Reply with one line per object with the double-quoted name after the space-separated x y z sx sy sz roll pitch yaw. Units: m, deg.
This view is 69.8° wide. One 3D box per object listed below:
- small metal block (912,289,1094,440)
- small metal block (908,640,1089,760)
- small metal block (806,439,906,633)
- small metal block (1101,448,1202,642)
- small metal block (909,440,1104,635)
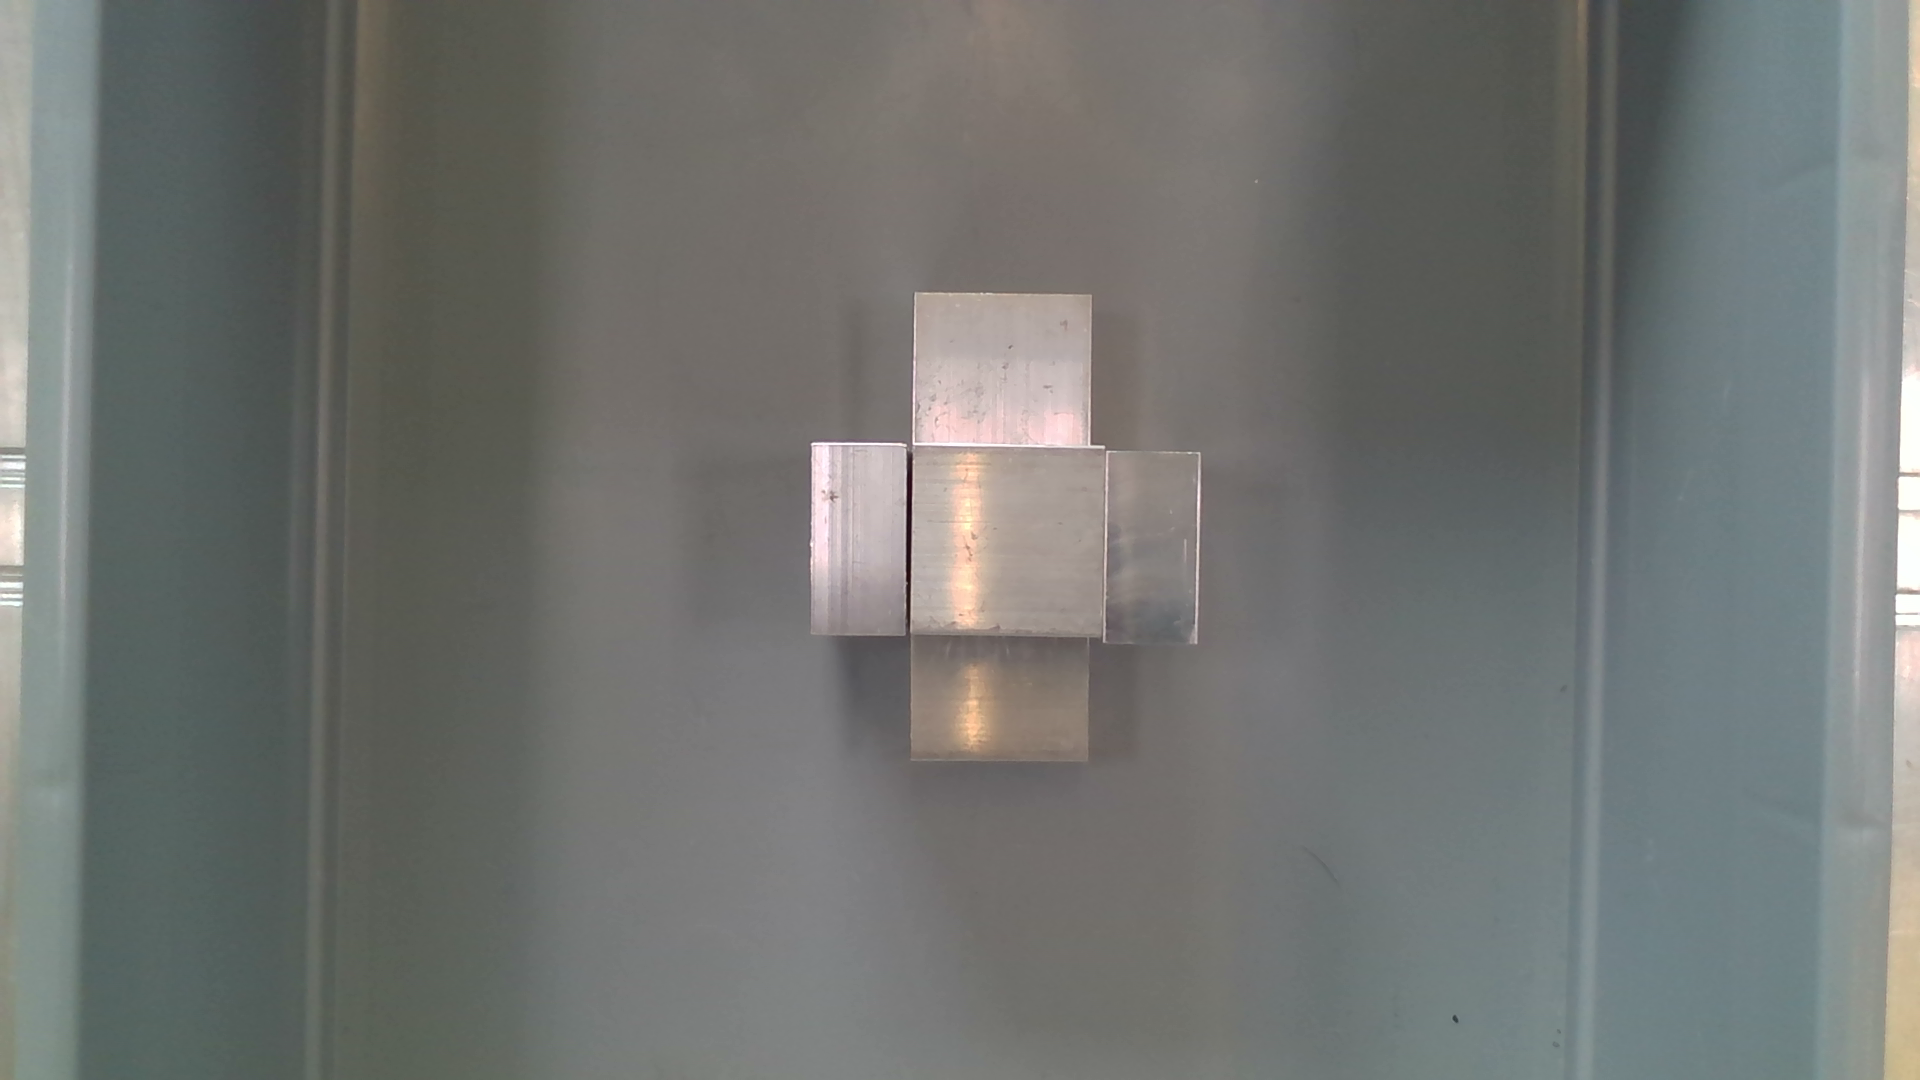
0.012 -0.044 0.394 0.050 0.025 0.050 1 90 0 "small metal block"
0.011 0.036 0.394 0.050 0.025 0.050 1 90 0 "small metal block"
-0.027 -0.001 0.380 0.025 0.050 0.050 1 90 0 "small metal block"
0.050 0.001 0.381 0.025 0.050 0.050 1 90 0 "small metal block"
0.012 -0.001 0.368 0.050 0.025 0.050 1 90 0 "small metal block"
